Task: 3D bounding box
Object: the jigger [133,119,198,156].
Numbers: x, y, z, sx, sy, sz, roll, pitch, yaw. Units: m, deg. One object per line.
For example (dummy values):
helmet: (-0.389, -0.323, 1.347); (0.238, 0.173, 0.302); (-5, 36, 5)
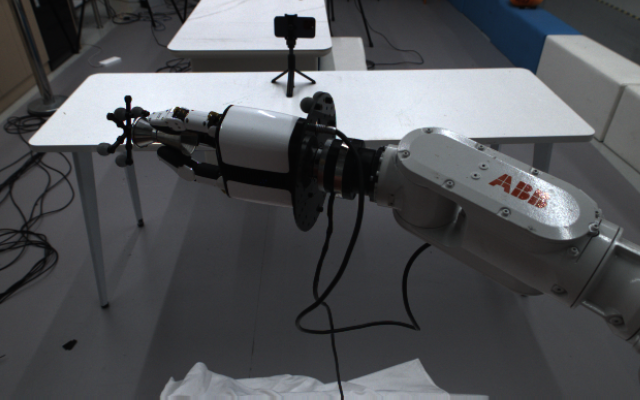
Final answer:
jigger: (-0.188, -0.084, 0.604); (0.071, 0.043, 0.043); (8, 35, 12)
